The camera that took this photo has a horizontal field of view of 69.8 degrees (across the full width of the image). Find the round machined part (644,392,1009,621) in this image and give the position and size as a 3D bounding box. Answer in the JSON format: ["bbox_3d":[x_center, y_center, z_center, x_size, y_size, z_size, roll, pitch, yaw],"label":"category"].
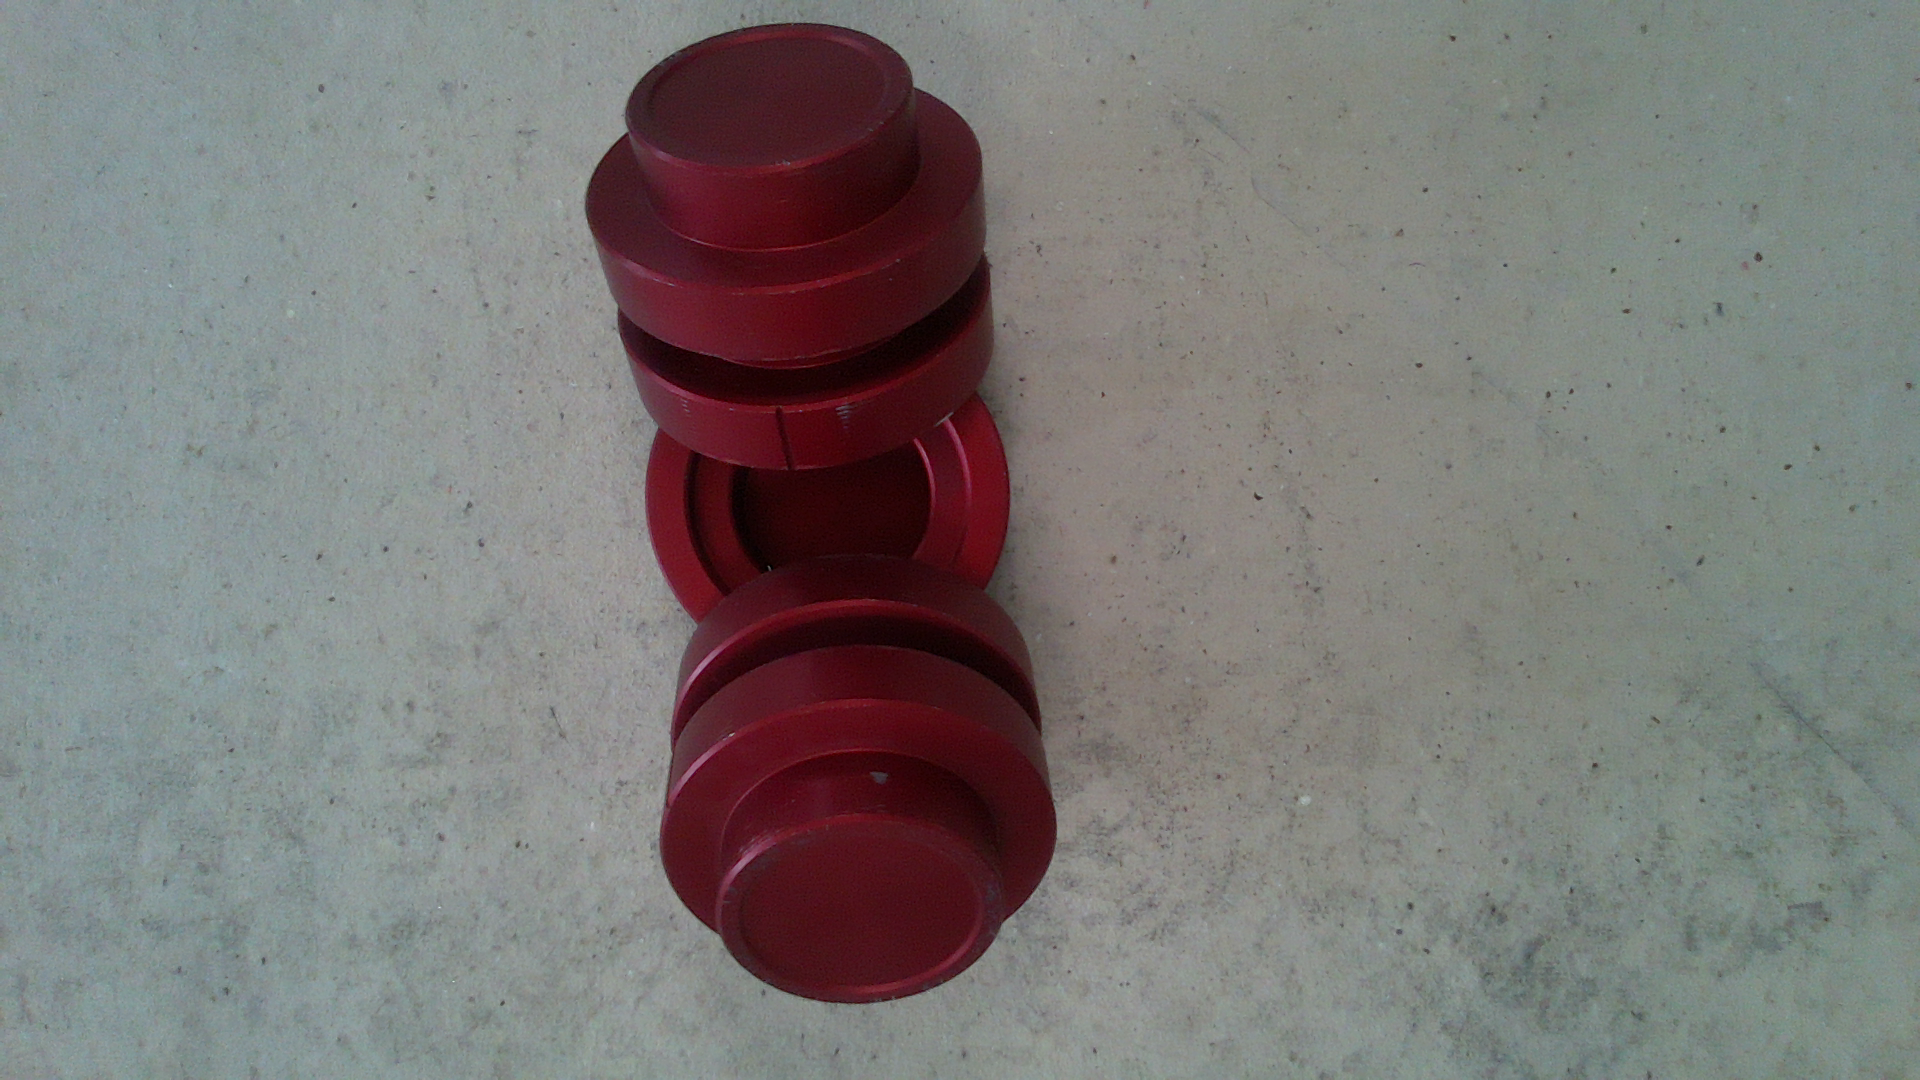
[{"bbox_3d":[-0.036,-0.012,0.388,0.098,0.042,0.098,0,90,0],"label":"round machined part"}]

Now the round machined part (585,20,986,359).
[{"bbox_3d":[-0.043,-0.092,0.338,0.098,0.042,0.098,-3,47,3],"label":"round machined part"}]

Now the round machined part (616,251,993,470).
[{"bbox_3d":[-0.041,-0.067,0.359,0.098,0.042,0.098,-2,47,3],"label":"round machined part"}]

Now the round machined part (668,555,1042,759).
[{"bbox_3d":[-0.027,0.055,0.362,0.098,0.042,0.098,-3,127,-3],"label":"round machined part"}]

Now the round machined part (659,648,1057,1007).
[{"bbox_3d":[-0.025,0.077,0.339,0.098,0.042,0.098,-3,126,-3],"label":"round machined part"}]
